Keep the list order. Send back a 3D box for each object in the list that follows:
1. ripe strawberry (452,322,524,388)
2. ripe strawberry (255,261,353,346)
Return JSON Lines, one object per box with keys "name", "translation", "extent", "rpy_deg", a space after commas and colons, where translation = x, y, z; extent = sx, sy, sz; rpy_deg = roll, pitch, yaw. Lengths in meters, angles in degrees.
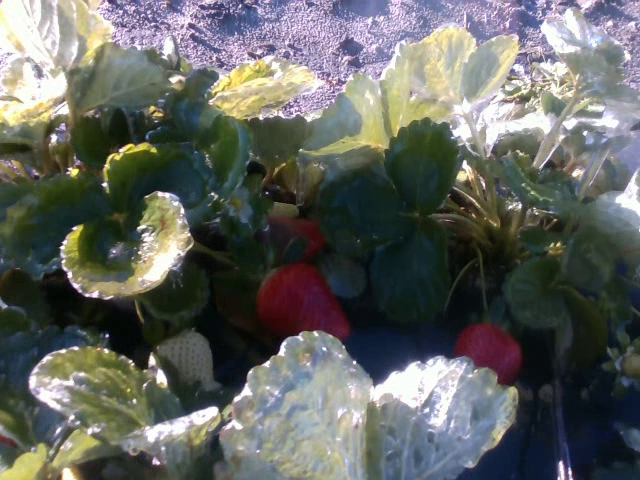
{"name": "ripe strawberry", "translation": [0.084, 0.061, 0.297], "extent": [0.039, 0.047, 0.040], "rpy_deg": [32, -41, 7]}
{"name": "ripe strawberry", "translation": [-0.005, 0.033, 0.310], "extent": [0.044, 0.056, 0.040], "rpy_deg": [-42, -14, -27]}
